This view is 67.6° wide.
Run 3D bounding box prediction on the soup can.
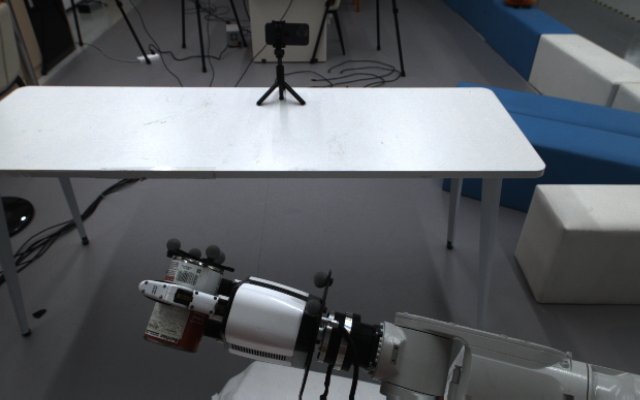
[{"bbox_3d":[-0.163,0.129,0.591,0.067,0.067,0.101,11,72,13],"label":"soup can"}]
